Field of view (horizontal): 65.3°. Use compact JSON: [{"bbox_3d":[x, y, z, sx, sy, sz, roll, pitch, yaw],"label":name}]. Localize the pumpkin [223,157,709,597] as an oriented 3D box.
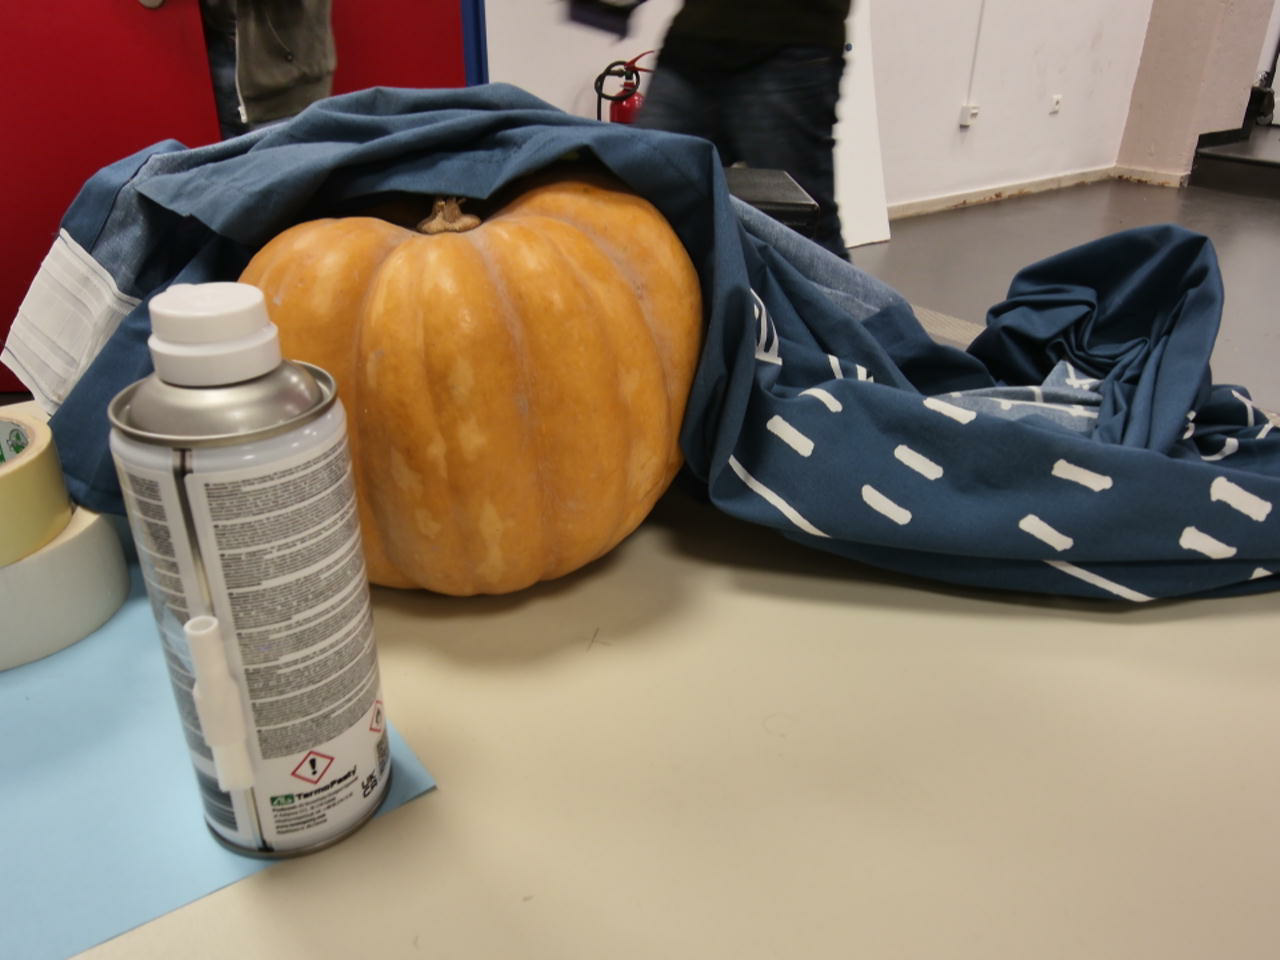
[{"bbox_3d":[-0.078,-0.051,0.483,0.230,0.194,0.230,0,26,0],"label":"pumpkin"}]
